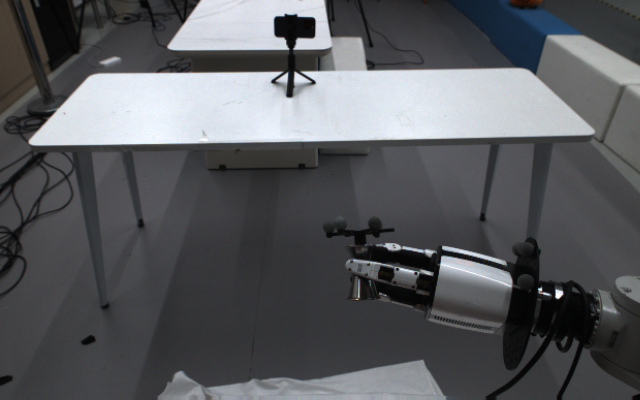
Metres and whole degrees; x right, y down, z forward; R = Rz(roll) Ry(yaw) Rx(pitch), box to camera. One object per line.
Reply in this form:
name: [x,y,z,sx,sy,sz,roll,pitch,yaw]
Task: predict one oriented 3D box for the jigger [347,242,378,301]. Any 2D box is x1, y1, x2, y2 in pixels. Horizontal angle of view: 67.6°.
jigger: [0.054,0.092,0.619,0.043,0.071,0.043,-2,-7,0]
